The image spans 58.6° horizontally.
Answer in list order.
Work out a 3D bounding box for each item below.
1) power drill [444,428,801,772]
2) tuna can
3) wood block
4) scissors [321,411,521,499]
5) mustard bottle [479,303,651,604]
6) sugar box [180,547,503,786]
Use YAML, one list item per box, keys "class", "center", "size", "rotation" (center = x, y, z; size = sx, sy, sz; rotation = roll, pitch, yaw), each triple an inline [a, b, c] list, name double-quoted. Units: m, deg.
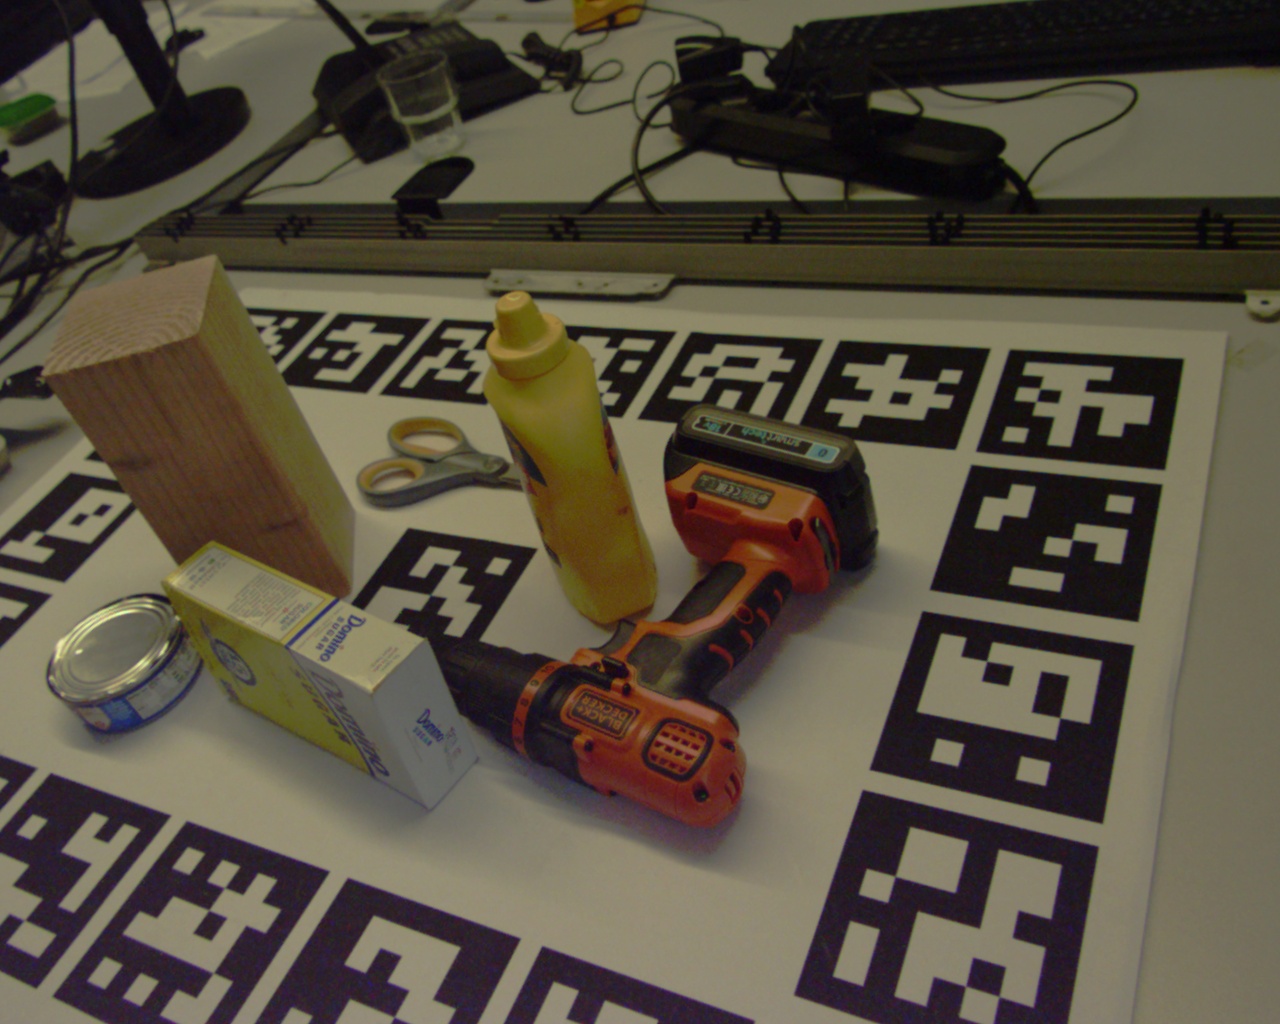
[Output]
- class: "power drill"
  center: [-0.005, 0.041, 0.643]
  size: [0.187, 0.057, 0.186]
  rotation: [15, 60, 32]
- class: "tuna can"
  center: [-0.317, 0.097, 0.714]
  size: [0.086, 0.033, 0.086]
  rotation: [-10, 44, 9]
- class: "wood block"
  center: [-0.263, -0.029, 0.715]
  size: [0.091, 0.204, 0.090]
  rotation: [-17, 44, 2]
- class: "scissors"
  center: [-0.139, -0.037, 0.801]
  size: [0.205, 0.016, 0.087]
  rotation: [5, 44, 25]
- class: "mustard bottle"
  center: [-0.047, -0.039, 0.654]
  size: [0.058, 0.190, 0.097]
  rotation: [-26, 44, -6]
- class: "sugar box"
  center: [-0.167, 0.084, 0.636]
  size: [0.179, 0.092, 0.045]
  rotation: [15, 49, 30]
